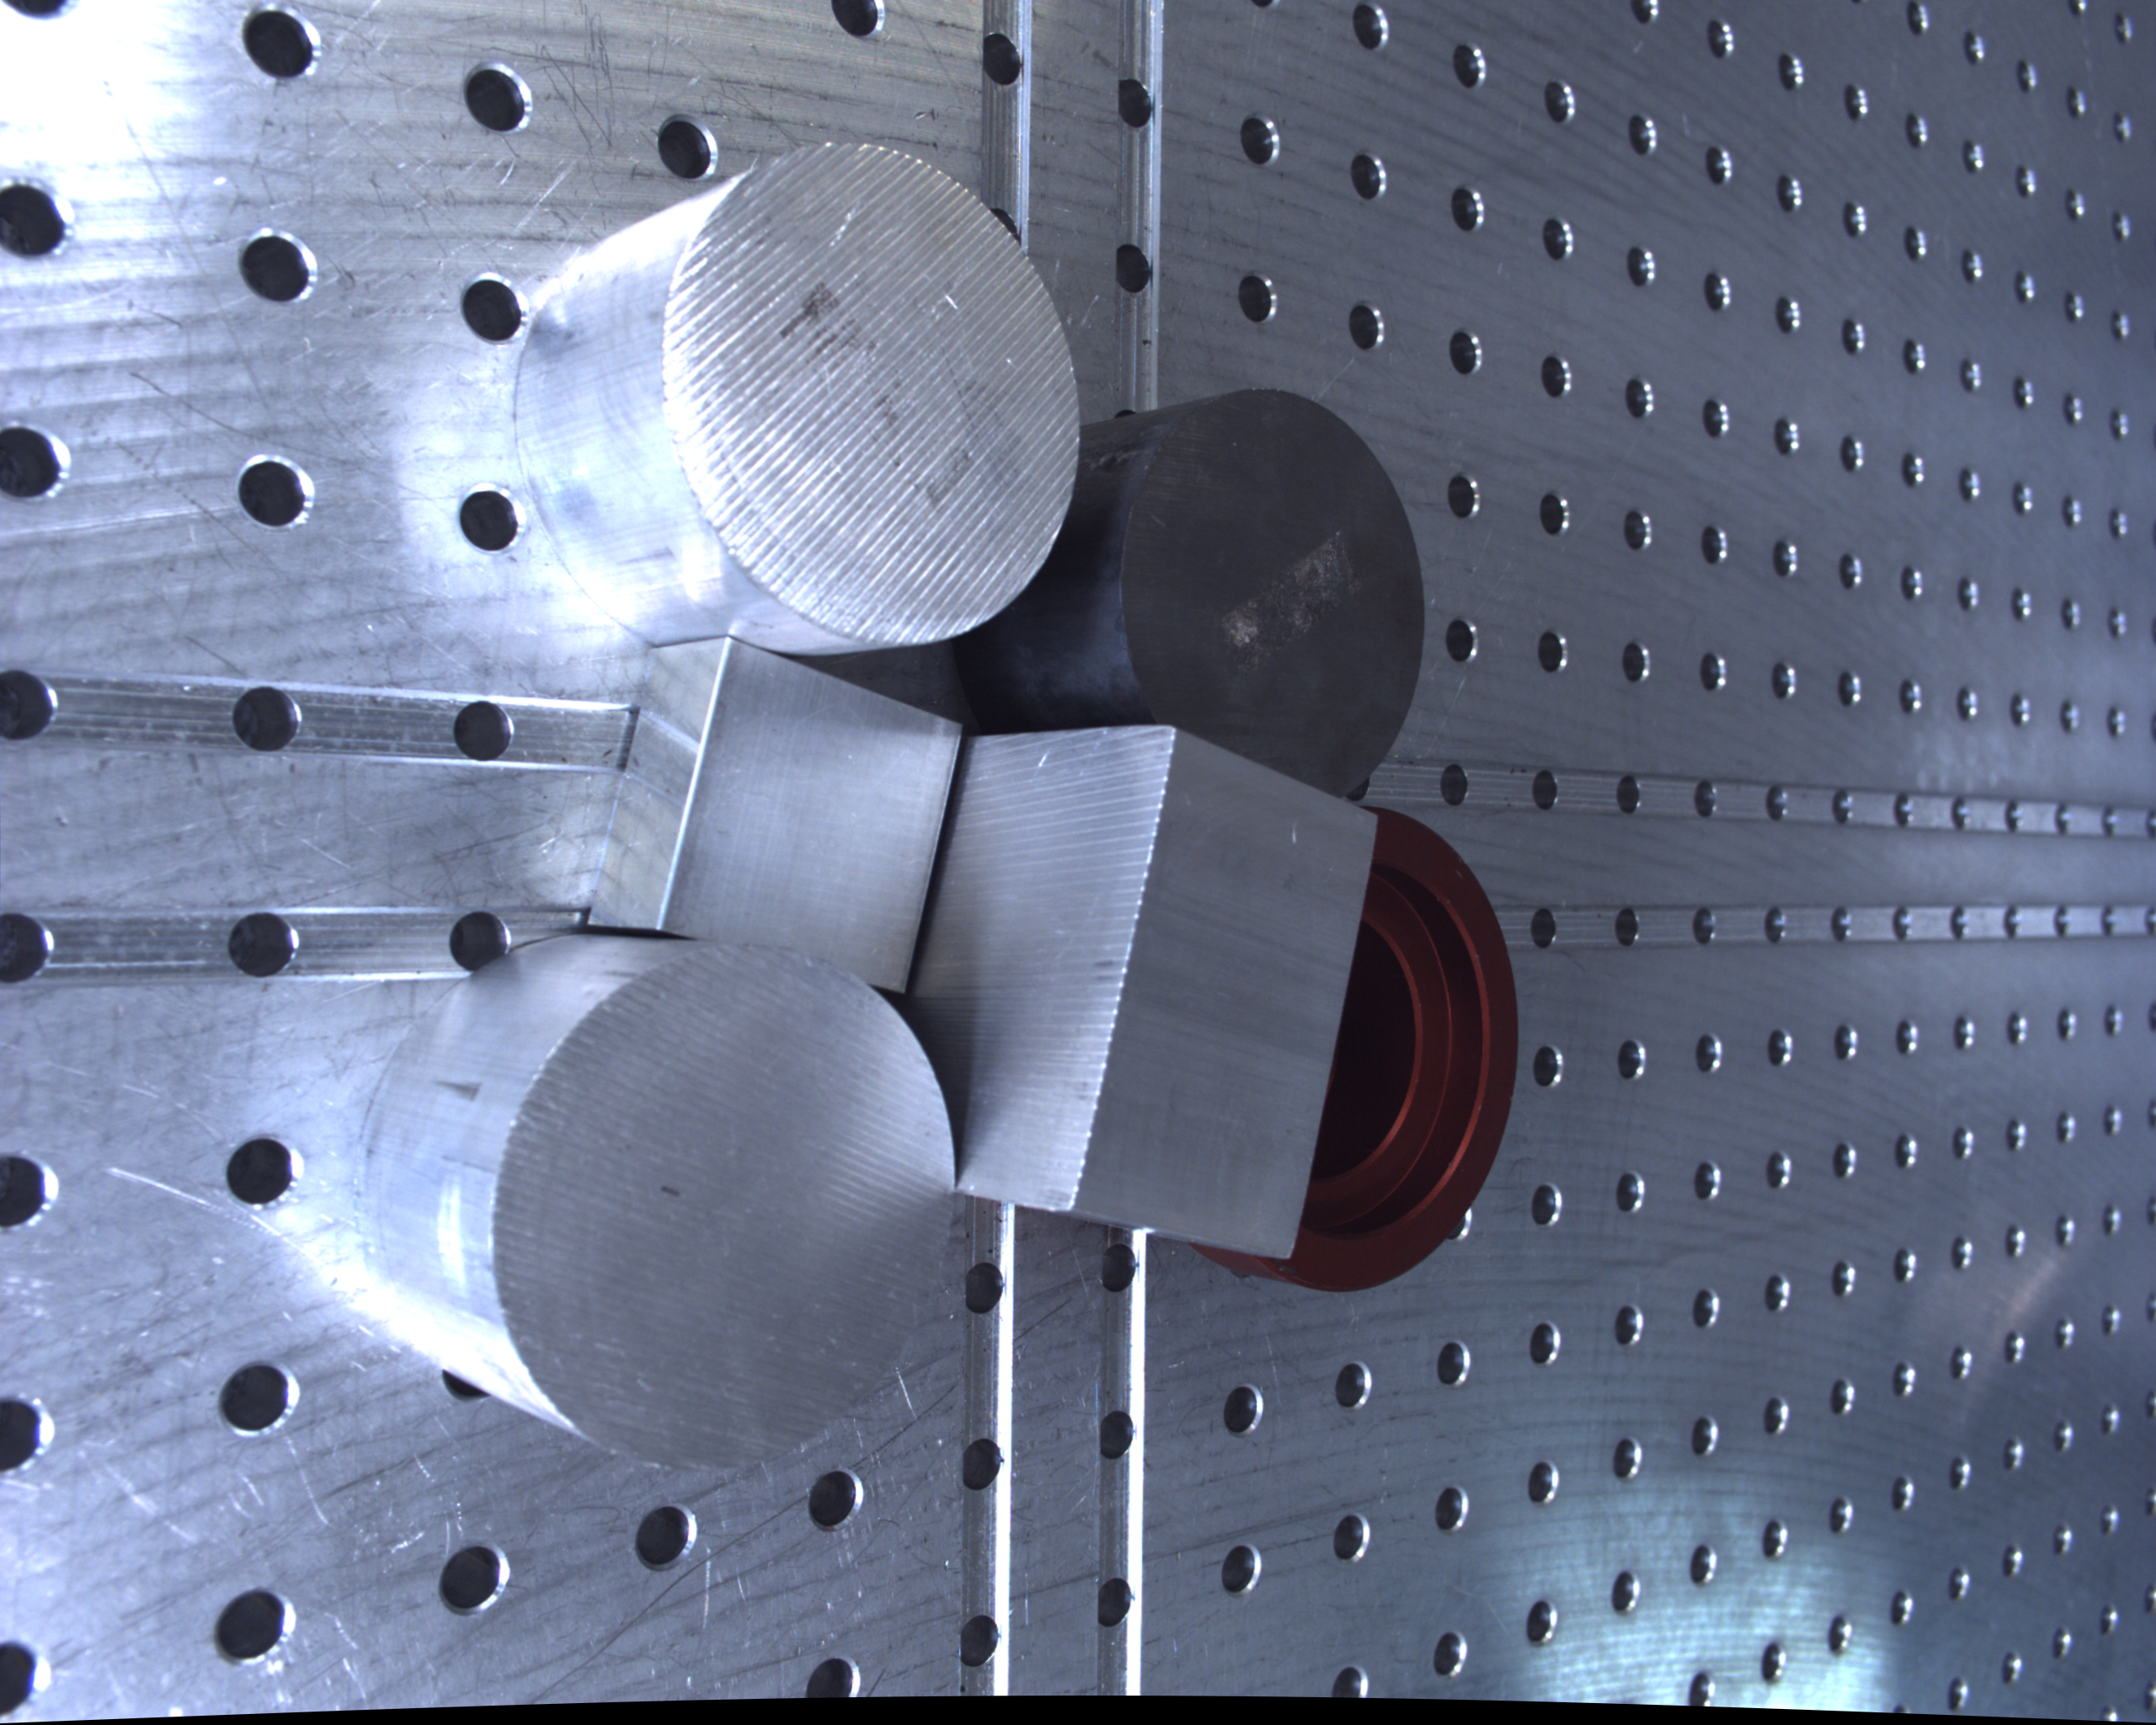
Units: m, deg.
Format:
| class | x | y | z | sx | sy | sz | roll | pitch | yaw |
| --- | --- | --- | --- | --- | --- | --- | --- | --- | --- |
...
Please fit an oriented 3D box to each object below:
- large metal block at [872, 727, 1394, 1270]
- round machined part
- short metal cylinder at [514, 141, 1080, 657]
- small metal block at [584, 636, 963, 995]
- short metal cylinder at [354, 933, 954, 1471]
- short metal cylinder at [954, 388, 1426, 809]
| class | x | y | z | sx | sy | sz | roll | pitch | yaw |
| --- | --- | --- | --- | --- | --- | --- | --- | --- | --- |
| large metal block | 0.002 | 0.023 | 0.371 | 0.050 | 0.080 | 0.080 | 20 | 77 | -38 |
| round machined part | 0.044 | 0.037 | 0.435 | 0.099 | 0.042 | 0.097 | 0 | 90 | -40 |
| short metal cylinder | -0.047 | -0.075 | 0.353 | 0.081 | 0.050 | 0.080 | 0 | 90 | -40 |
| small metal block | -0.052 | -0.007 | 0.365 | 0.050 | 0.025 | 0.050 | 19 | 78 | -38 |
| short metal cylinder | -0.067 | 0.052 | 0.336 | 0.081 | 0.050 | 0.080 | 0 | 90 | -40 |
| short metal cylinder | 0.023 | -0.049 | 0.411 | 0.081 | 0.050 | 0.080 | 0 | 90 | -40 |
